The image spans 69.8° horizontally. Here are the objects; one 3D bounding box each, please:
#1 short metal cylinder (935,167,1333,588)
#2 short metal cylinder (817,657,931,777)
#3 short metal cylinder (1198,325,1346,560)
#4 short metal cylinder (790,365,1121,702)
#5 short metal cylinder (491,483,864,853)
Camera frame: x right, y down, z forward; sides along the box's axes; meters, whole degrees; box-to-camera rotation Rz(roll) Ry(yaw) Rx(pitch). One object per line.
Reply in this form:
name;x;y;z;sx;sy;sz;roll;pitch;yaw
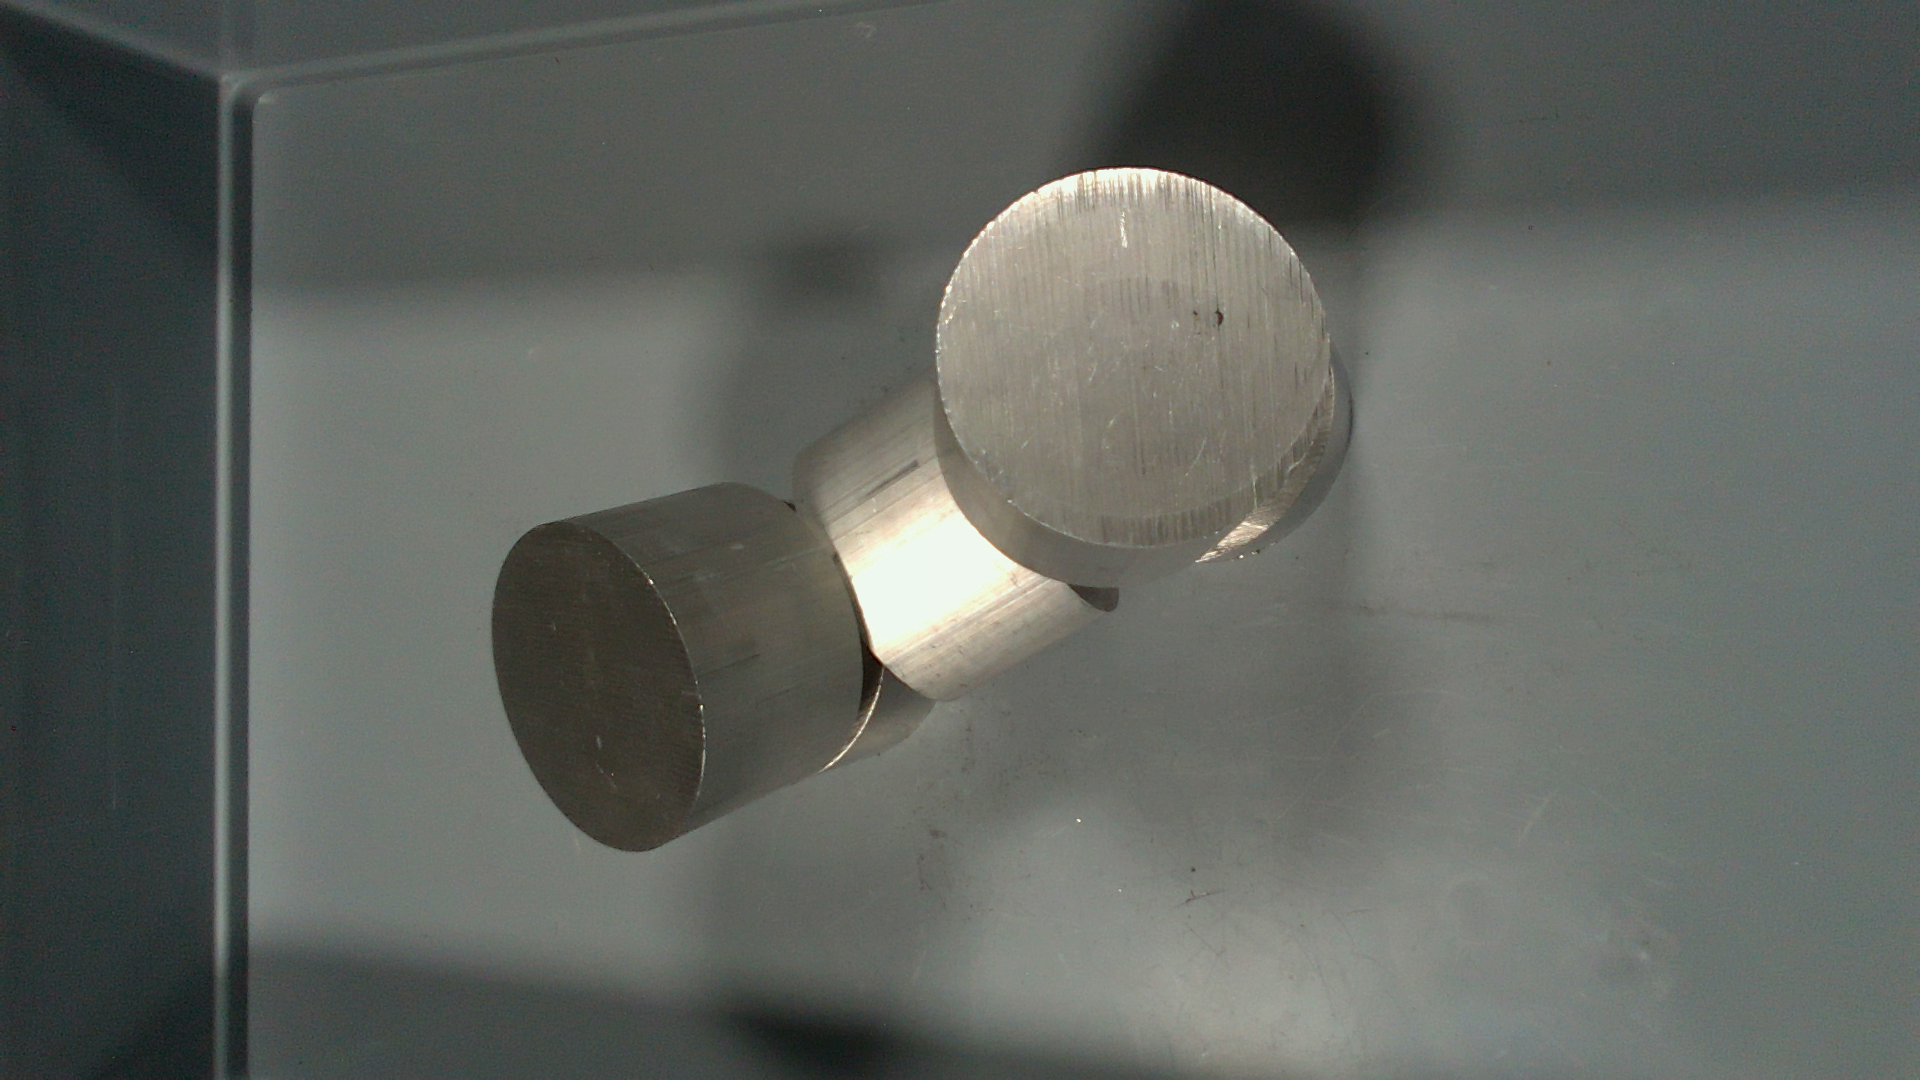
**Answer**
short metal cylinder;0.034;-0.033;0.299;0.080;0.050;0.080;0;78;-2
short metal cylinder;-0.048;0.029;0.399;0.080;0.050;0.080;0;90;20
short metal cylinder;0.059;-0.034;0.360;0.080;0.050;0.080;0;90;20
short metal cylinder;0.000;-0.004;0.365;0.050;0.080;0.080;-31;80;17
short metal cylinder;-0.070;0.029;0.338;0.080;0.050;0.080;12;110;37
